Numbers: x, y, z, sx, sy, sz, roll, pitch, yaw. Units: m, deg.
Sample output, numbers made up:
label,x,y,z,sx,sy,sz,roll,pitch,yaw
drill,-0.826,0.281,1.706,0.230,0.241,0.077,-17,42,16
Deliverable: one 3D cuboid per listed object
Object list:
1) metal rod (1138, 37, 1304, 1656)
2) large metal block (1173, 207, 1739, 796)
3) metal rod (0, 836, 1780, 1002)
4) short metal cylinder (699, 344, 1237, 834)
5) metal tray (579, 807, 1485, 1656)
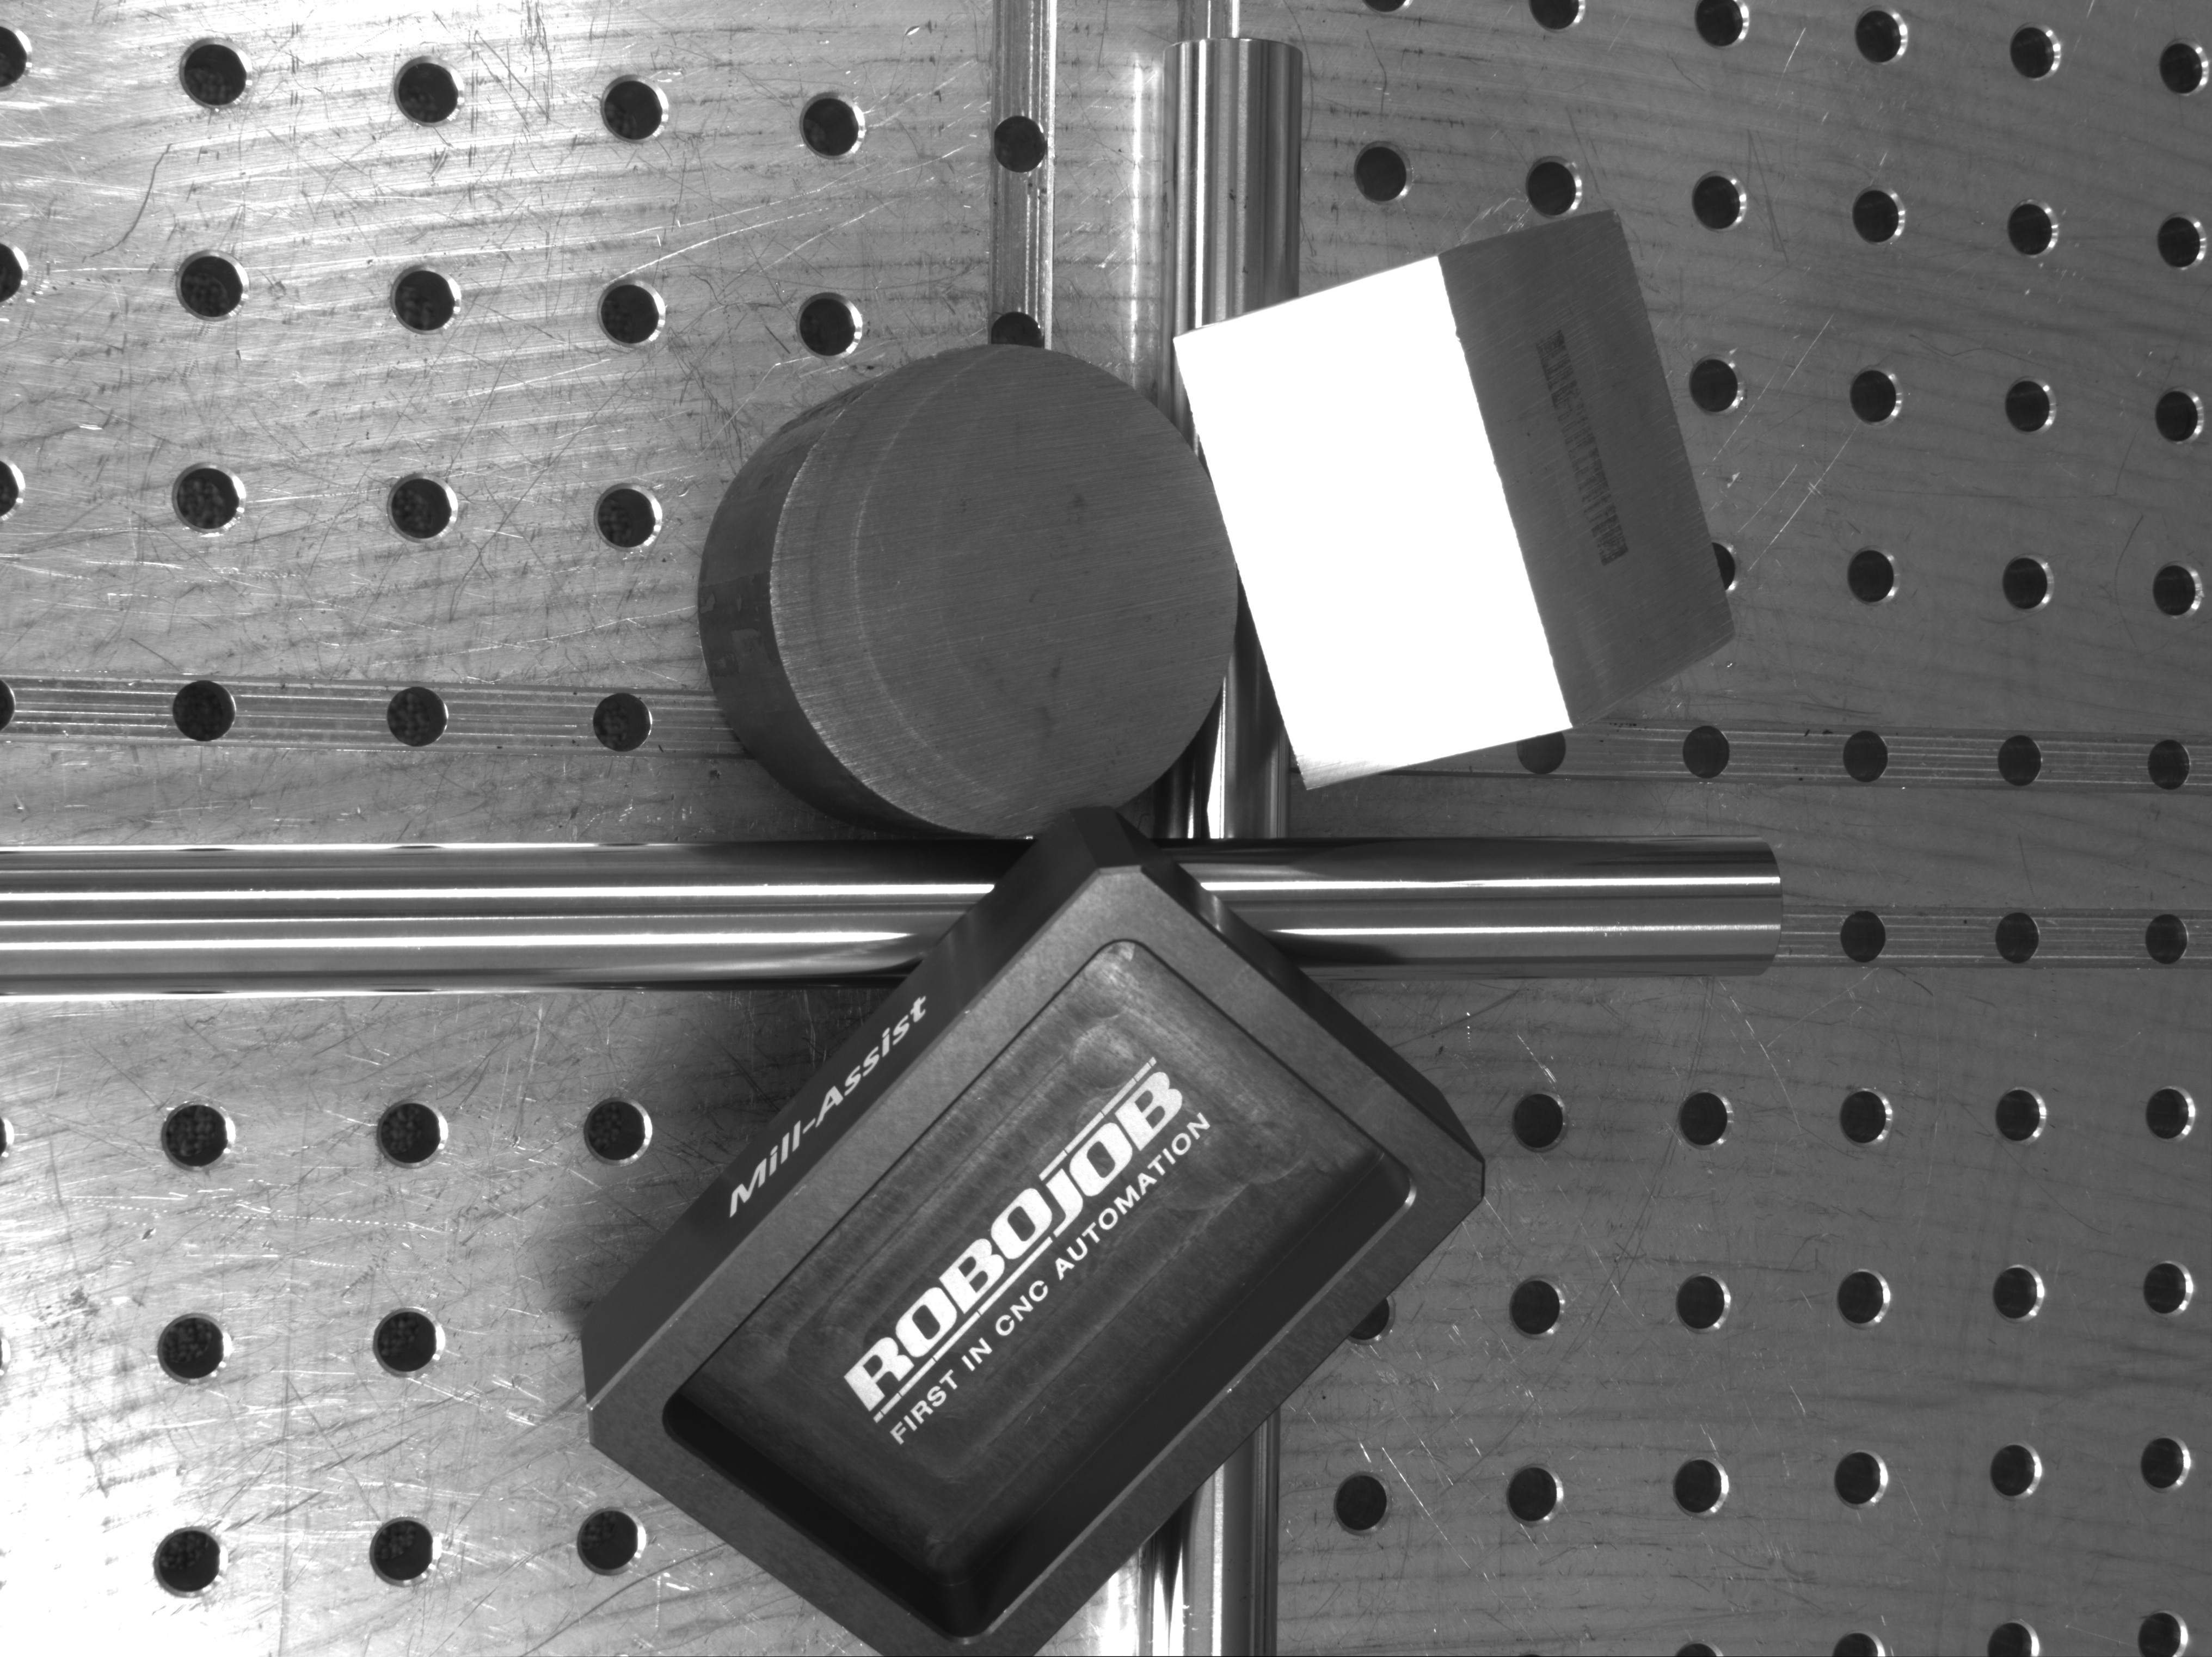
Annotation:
label,x,y,z,sx,sy,sz,roll,pitch,yaw
metal rod,0.020,0.012,0.653,0.025,0.025,0.300,1,90,-20
large metal block,0.062,-0.058,0.634,0.080,0.050,0.080,-26,101,-58
metal rod,-0.032,0.015,0.617,0.300,0.025,0.025,0,90,-13
short metal cylinder,-0.024,-0.039,0.624,0.080,0.050,0.080,0,90,-20
metal tray,-0.013,0.072,0.611,0.090,0.030,0.130,41,98,-21
